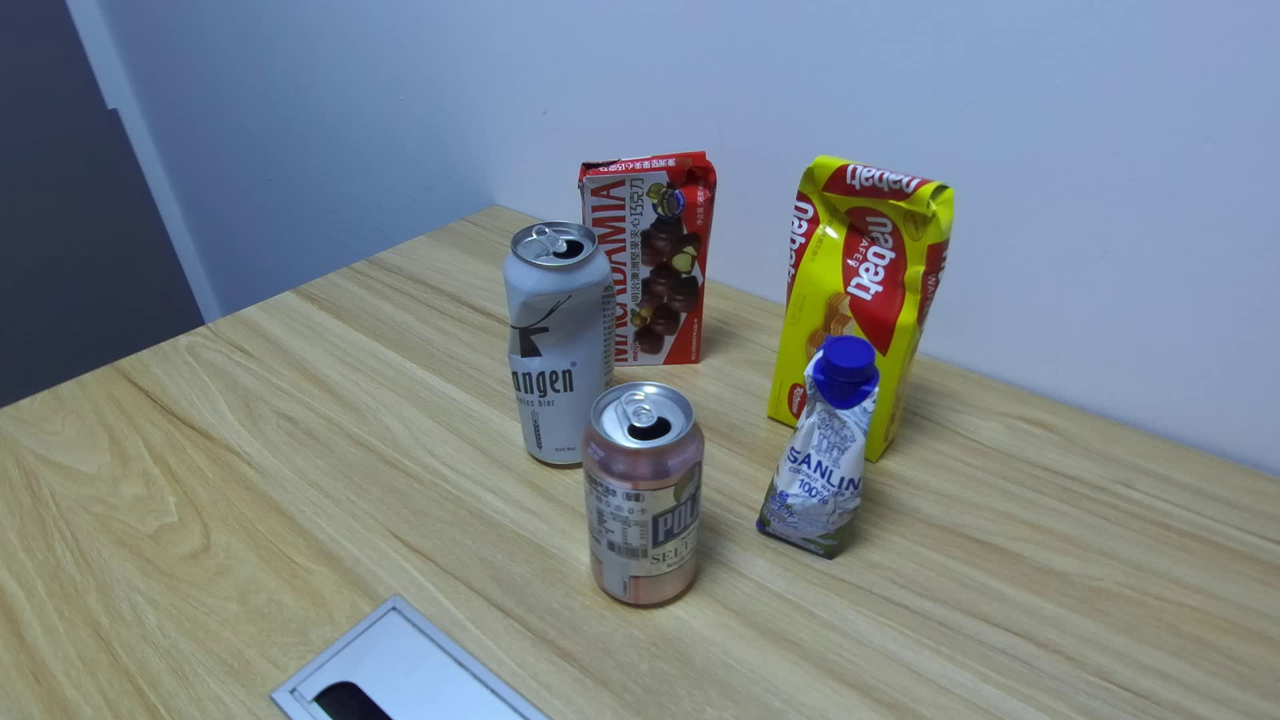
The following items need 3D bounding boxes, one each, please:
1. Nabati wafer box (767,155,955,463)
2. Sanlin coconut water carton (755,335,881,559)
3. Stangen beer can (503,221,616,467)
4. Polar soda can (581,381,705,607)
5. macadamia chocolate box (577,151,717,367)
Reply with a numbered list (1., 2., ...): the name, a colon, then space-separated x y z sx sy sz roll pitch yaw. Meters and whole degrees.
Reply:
1. Nabati wafer box: 0.145 -0.030 0.487 0.113 0.205 0.043 23 39 32
2. Sanlin coconut water carton: 0.119 0.048 0.430 0.056 0.144 0.068 21 31 17
3. Stangen beer can: -0.054 -0.008 0.484 0.070 0.173 0.070 22 42 26
4. Polar soda can: 0.002 0.078 0.403 0.067 0.126 0.067 0 35 0
5. macadamia chocolate box: 0.007 -0.074 0.566 0.103 0.187 0.027 -2 38 -1
